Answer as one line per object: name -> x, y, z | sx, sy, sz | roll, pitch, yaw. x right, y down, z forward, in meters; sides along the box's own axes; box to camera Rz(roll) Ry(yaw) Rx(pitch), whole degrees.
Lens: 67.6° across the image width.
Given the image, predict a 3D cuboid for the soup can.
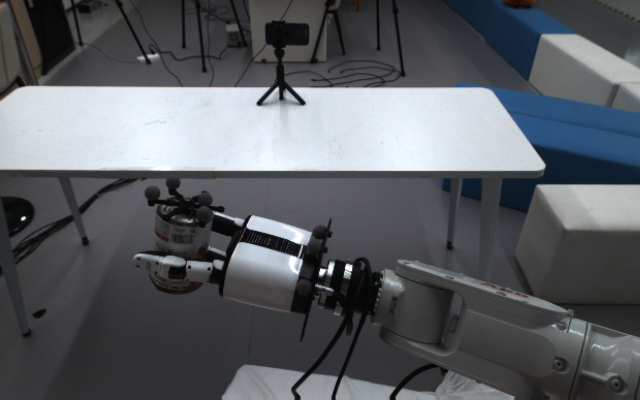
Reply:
soup can -> -0.170, 0.057, 0.596 | 0.067, 0.101, 0.067 | 12, 24, -6
